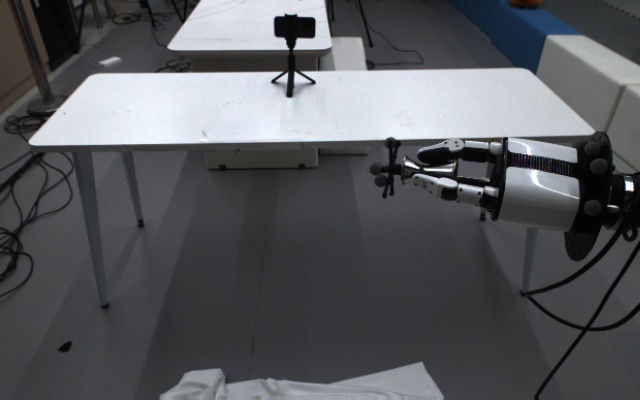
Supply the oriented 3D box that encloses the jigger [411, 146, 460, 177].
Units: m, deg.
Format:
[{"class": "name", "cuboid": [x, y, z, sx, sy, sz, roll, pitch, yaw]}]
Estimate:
[{"class": "jigger", "cuboid": [0.152, -0.042, 0.642, 0.071, 0.043, 0.043, 7, 34, 21]}]
